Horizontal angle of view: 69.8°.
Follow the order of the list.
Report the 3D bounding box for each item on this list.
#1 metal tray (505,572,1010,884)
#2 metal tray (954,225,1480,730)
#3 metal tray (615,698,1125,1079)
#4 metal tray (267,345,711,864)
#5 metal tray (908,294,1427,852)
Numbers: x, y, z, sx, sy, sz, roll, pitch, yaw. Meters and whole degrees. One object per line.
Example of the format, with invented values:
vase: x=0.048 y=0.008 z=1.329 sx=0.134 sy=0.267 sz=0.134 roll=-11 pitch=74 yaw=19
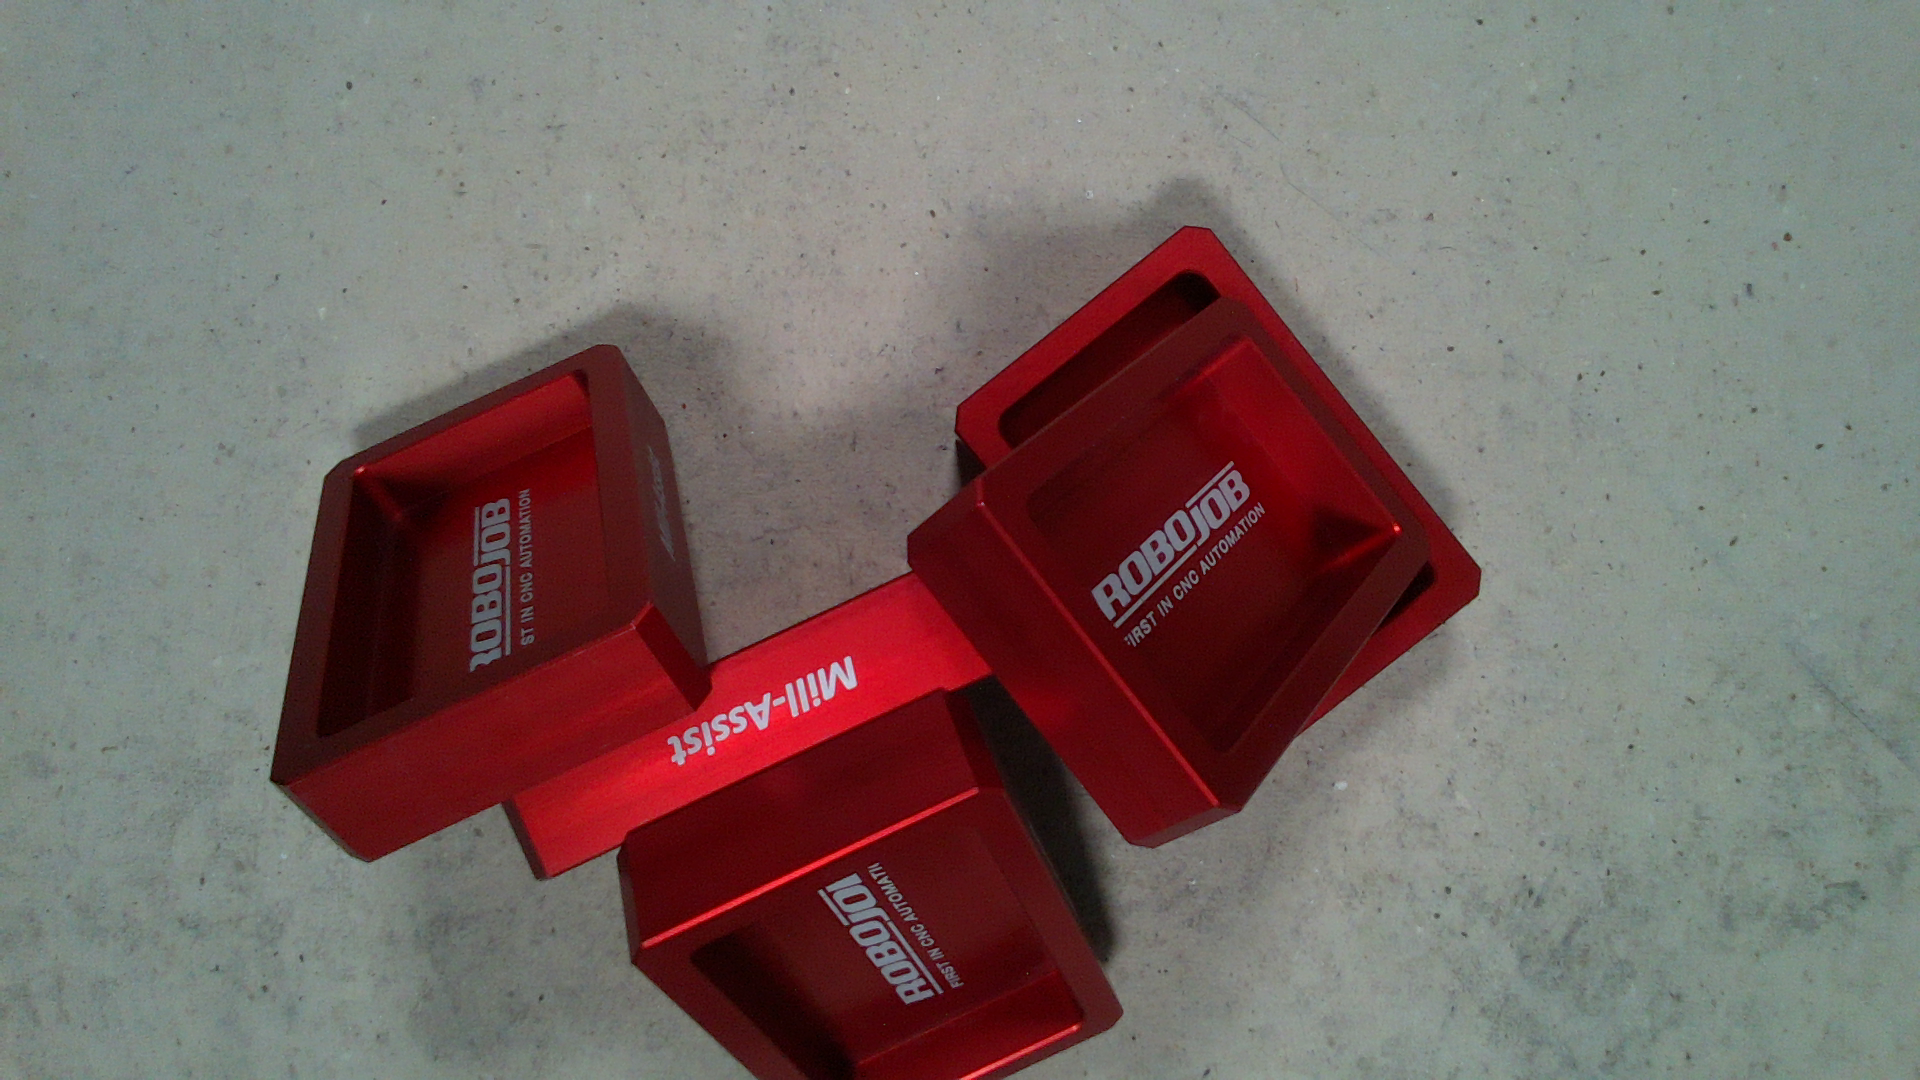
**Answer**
metal tray: x=-0.046 y=0.040 z=0.363 sx=0.130 sy=0.090 sz=0.030 roll=-25 pitch=90 yaw=0
metal tray: x=0.071 y=-0.011 z=0.393 sx=0.090 sy=0.030 sz=0.130 roll=-38 pitch=90 yaw=0
metal tray: x=-0.017 y=0.104 z=0.352 sx=0.090 sy=0.030 sz=0.130 roll=-25 pitch=135 yaw=0
metal tray: x=-0.117 y=0.008 z=0.348 sx=0.090 sy=0.130 sz=0.030 roll=-25 pitch=129 yaw=0
metal tray: x=0.057 y=0.002 z=0.340 sx=0.090 sy=0.030 sz=0.130 roll=52 pitch=46 yaw=-1
